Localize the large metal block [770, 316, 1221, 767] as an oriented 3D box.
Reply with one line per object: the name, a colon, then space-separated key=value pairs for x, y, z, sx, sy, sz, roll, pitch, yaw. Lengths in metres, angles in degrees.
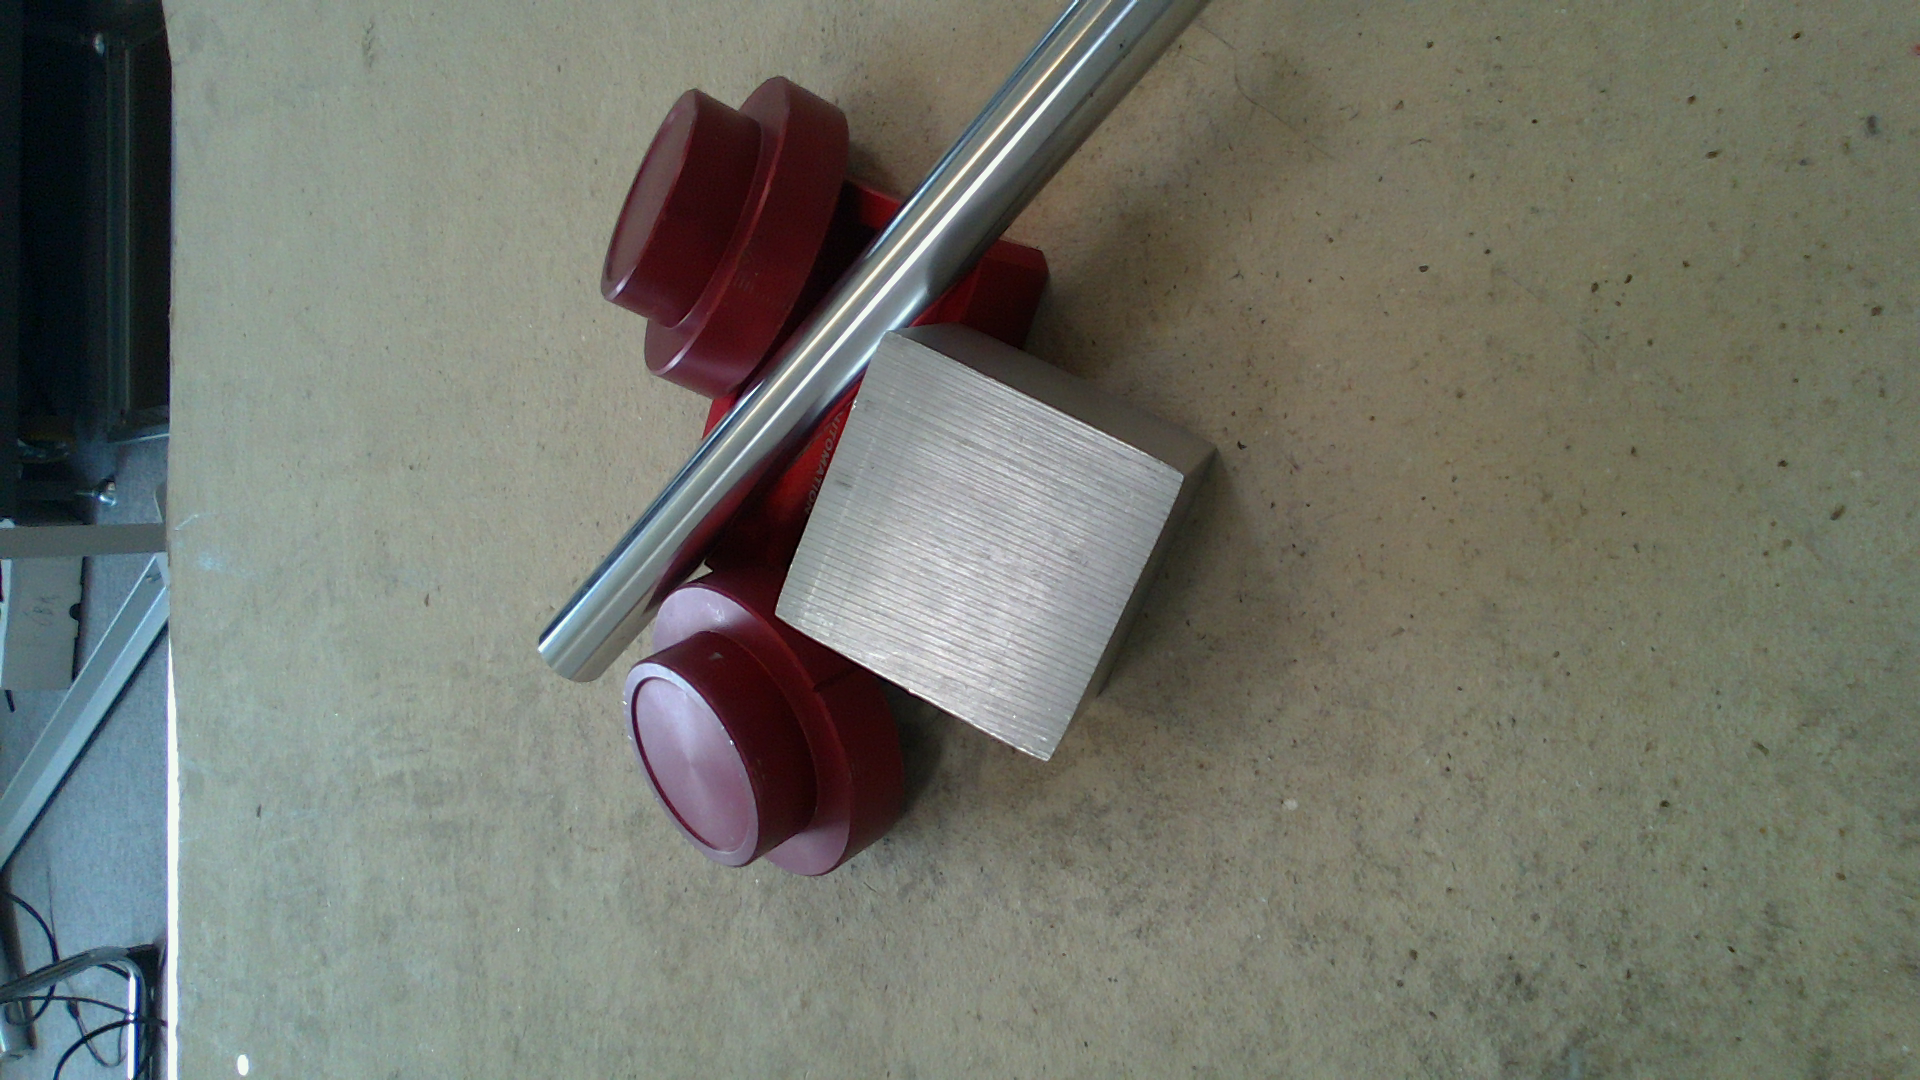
large metal block: x=0.010 y=-0.003 z=0.352 sx=0.080 sy=0.050 sz=0.080 roll=27 pitch=108 yaw=11

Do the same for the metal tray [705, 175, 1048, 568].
metal tray: x=-0.034 y=-0.040 z=0.421 sx=0.090 sy=0.030 sz=0.130 roll=31 pitch=109 yaw=36

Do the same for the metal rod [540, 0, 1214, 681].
metal rod: x=-0.038 y=-0.050 z=0.388 sx=0.299 sy=0.025 sz=0.025 roll=-43 pitch=64 yaw=32

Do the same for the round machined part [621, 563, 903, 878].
round machined part: x=-0.066 y=0.059 z=0.417 sx=0.098 sy=0.042 sz=0.098 roll=25 pitch=127 yaw=38

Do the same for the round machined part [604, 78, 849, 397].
round machined part: x=-0.076 y=-0.096 z=0.422 sx=0.098 sy=0.042 sz=0.098 roll=-42 pitch=37 yaw=42
